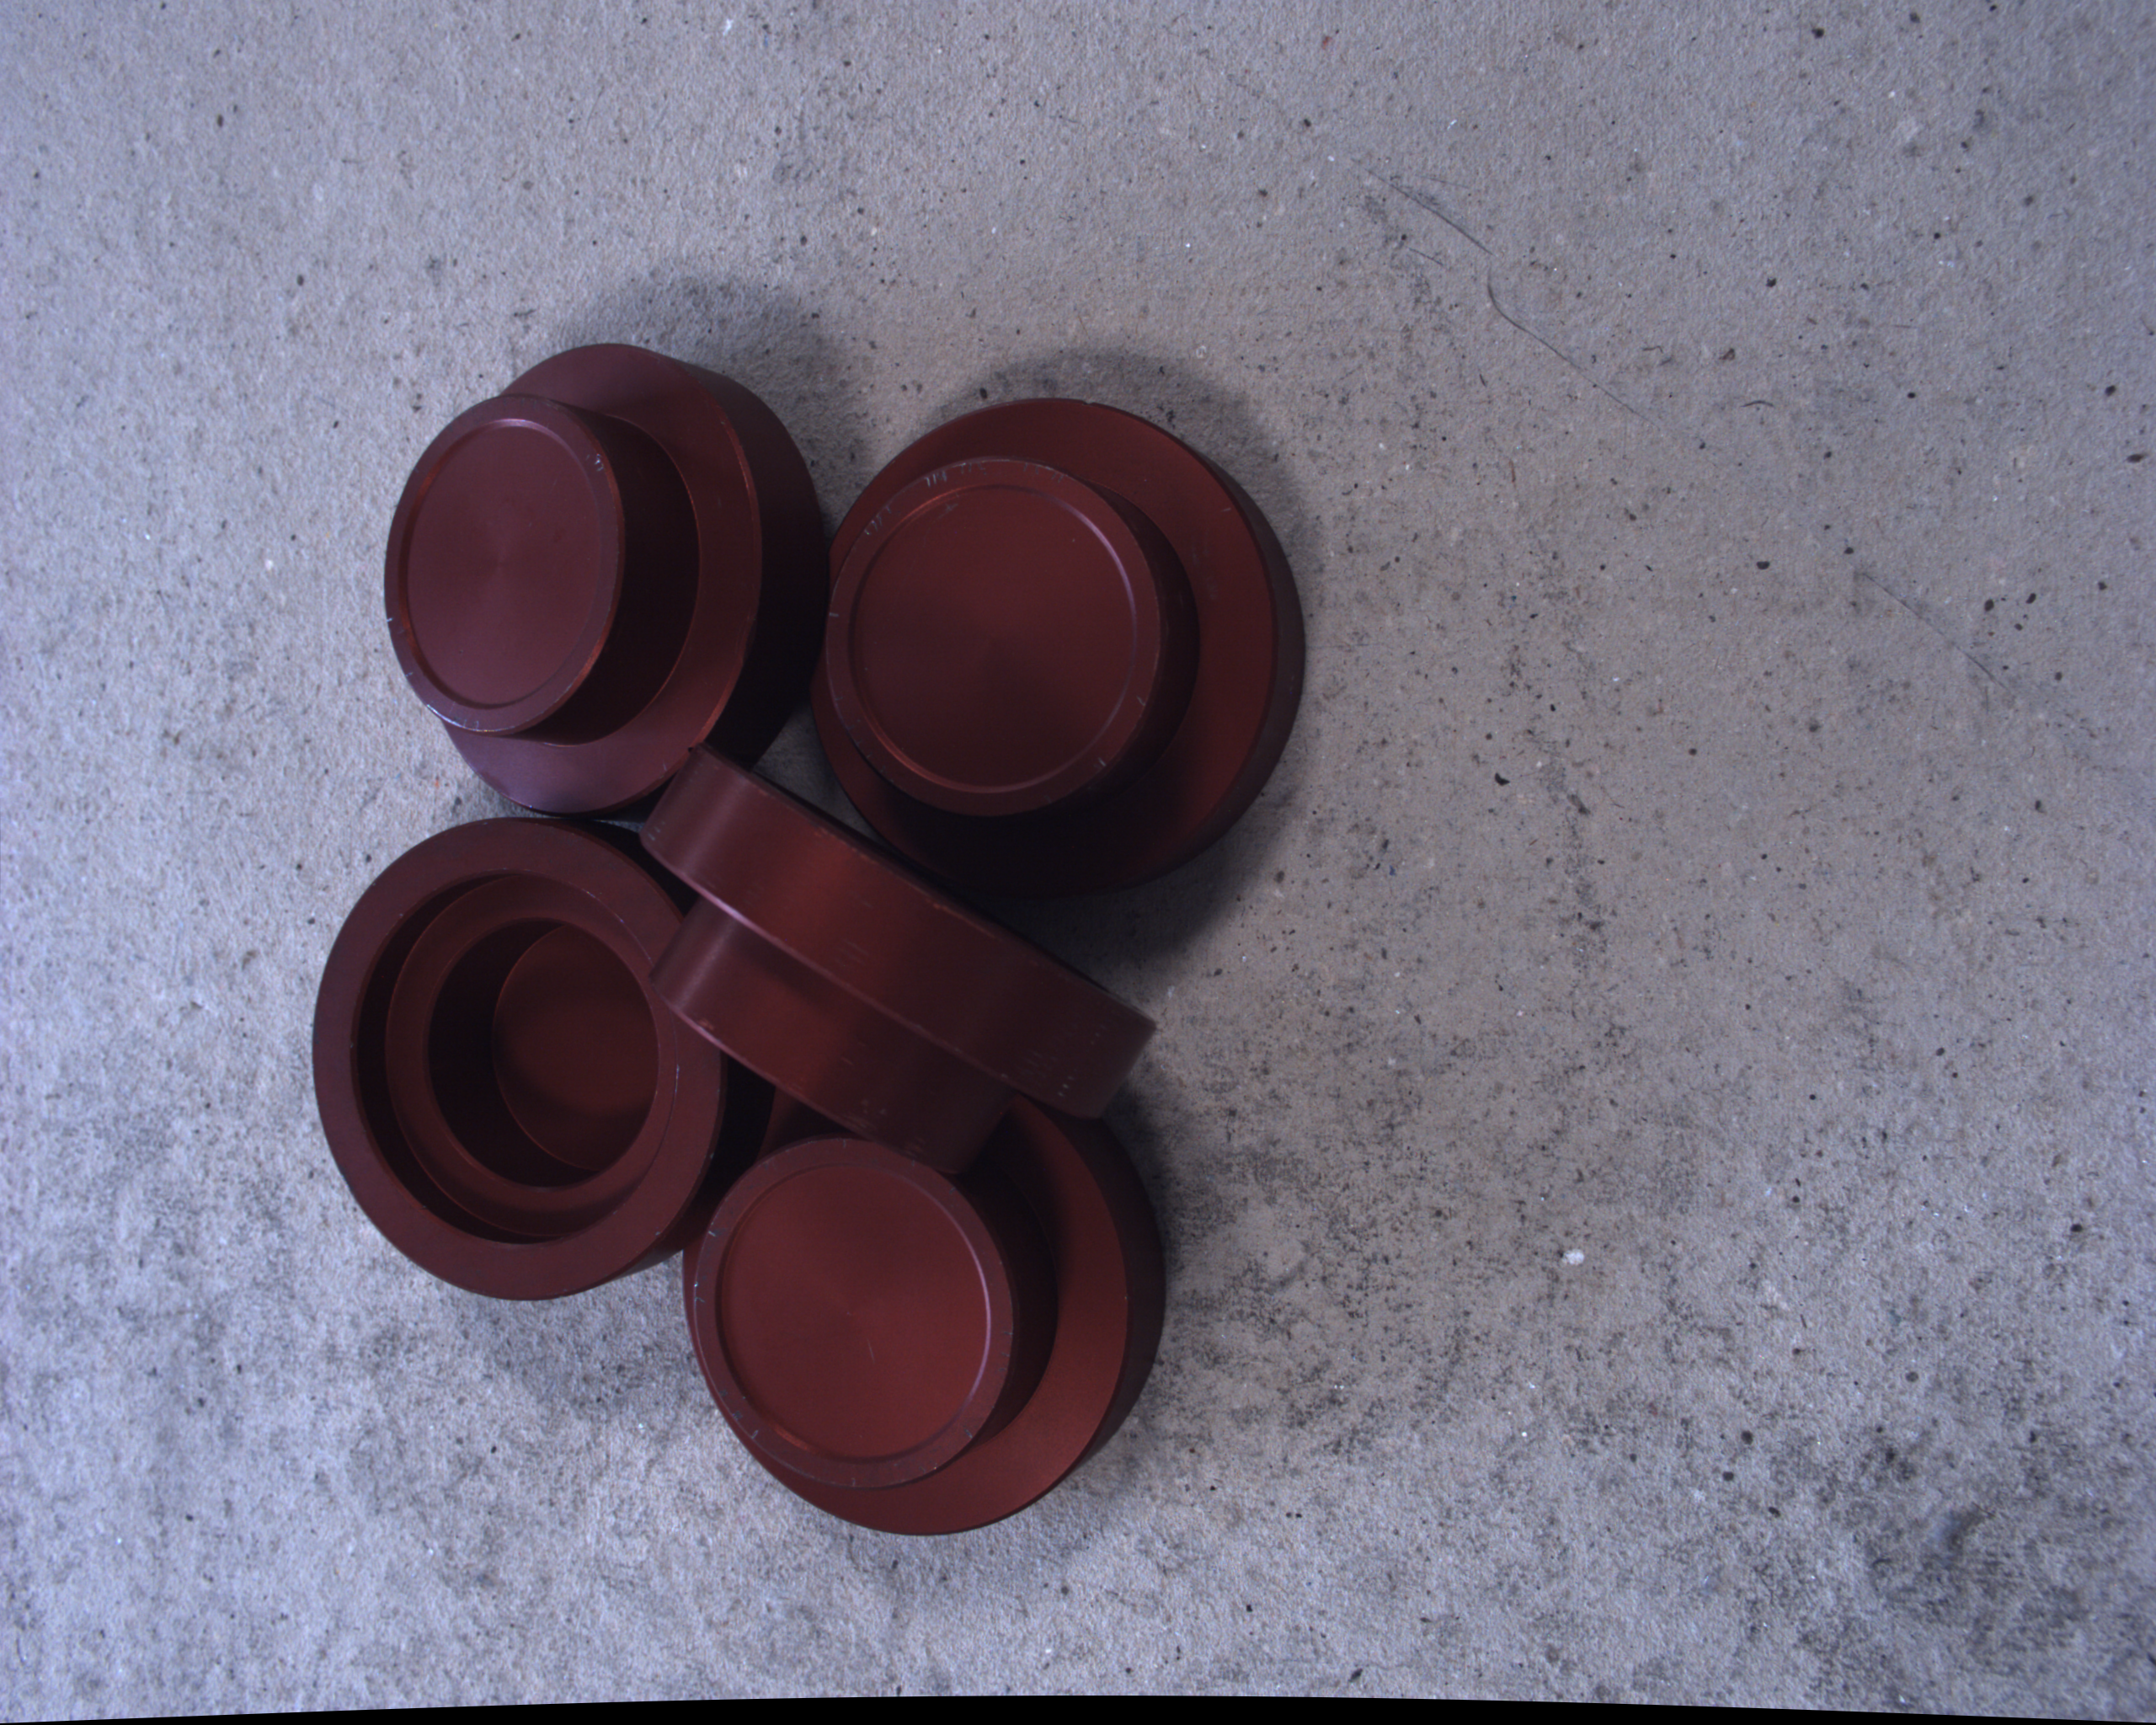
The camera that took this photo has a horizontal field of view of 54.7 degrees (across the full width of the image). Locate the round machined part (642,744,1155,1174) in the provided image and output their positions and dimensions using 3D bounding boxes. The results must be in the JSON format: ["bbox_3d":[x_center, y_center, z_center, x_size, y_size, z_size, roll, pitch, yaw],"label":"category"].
[{"bbox_3d":[-0.038,0.022,0.382,0.098,0.098,0.042,31,87,17],"label":"round machined part"}]

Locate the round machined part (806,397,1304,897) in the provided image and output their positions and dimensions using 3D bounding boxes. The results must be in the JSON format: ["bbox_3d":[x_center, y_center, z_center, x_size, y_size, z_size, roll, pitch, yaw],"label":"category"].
[{"bbox_3d":[-0.009,-0.042,0.404,0.098,0.042,0.097,0,89,19],"label":"round machined part"}]

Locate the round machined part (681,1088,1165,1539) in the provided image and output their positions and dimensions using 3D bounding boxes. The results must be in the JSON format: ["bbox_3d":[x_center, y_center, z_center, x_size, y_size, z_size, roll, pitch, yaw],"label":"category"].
[{"bbox_3d":[-0.036,0.085,0.414,0.098,0.042,0.097,-1,88,19],"label":"round machined part"}]

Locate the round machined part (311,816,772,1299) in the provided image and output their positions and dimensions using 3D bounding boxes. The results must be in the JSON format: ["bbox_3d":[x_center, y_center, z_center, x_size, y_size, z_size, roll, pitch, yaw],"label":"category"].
[{"bbox_3d":[-0.107,0.039,0.439,0.098,0.042,0.097,1,92,20],"label":"round machined part"}]

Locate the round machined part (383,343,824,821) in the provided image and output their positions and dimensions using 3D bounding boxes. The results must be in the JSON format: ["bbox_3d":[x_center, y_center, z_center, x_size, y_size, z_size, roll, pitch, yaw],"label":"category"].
[{"bbox_3d":[-0.103,-0.058,0.426,0.098,0.042,0.097,-1,87,33],"label":"round machined part"}]
